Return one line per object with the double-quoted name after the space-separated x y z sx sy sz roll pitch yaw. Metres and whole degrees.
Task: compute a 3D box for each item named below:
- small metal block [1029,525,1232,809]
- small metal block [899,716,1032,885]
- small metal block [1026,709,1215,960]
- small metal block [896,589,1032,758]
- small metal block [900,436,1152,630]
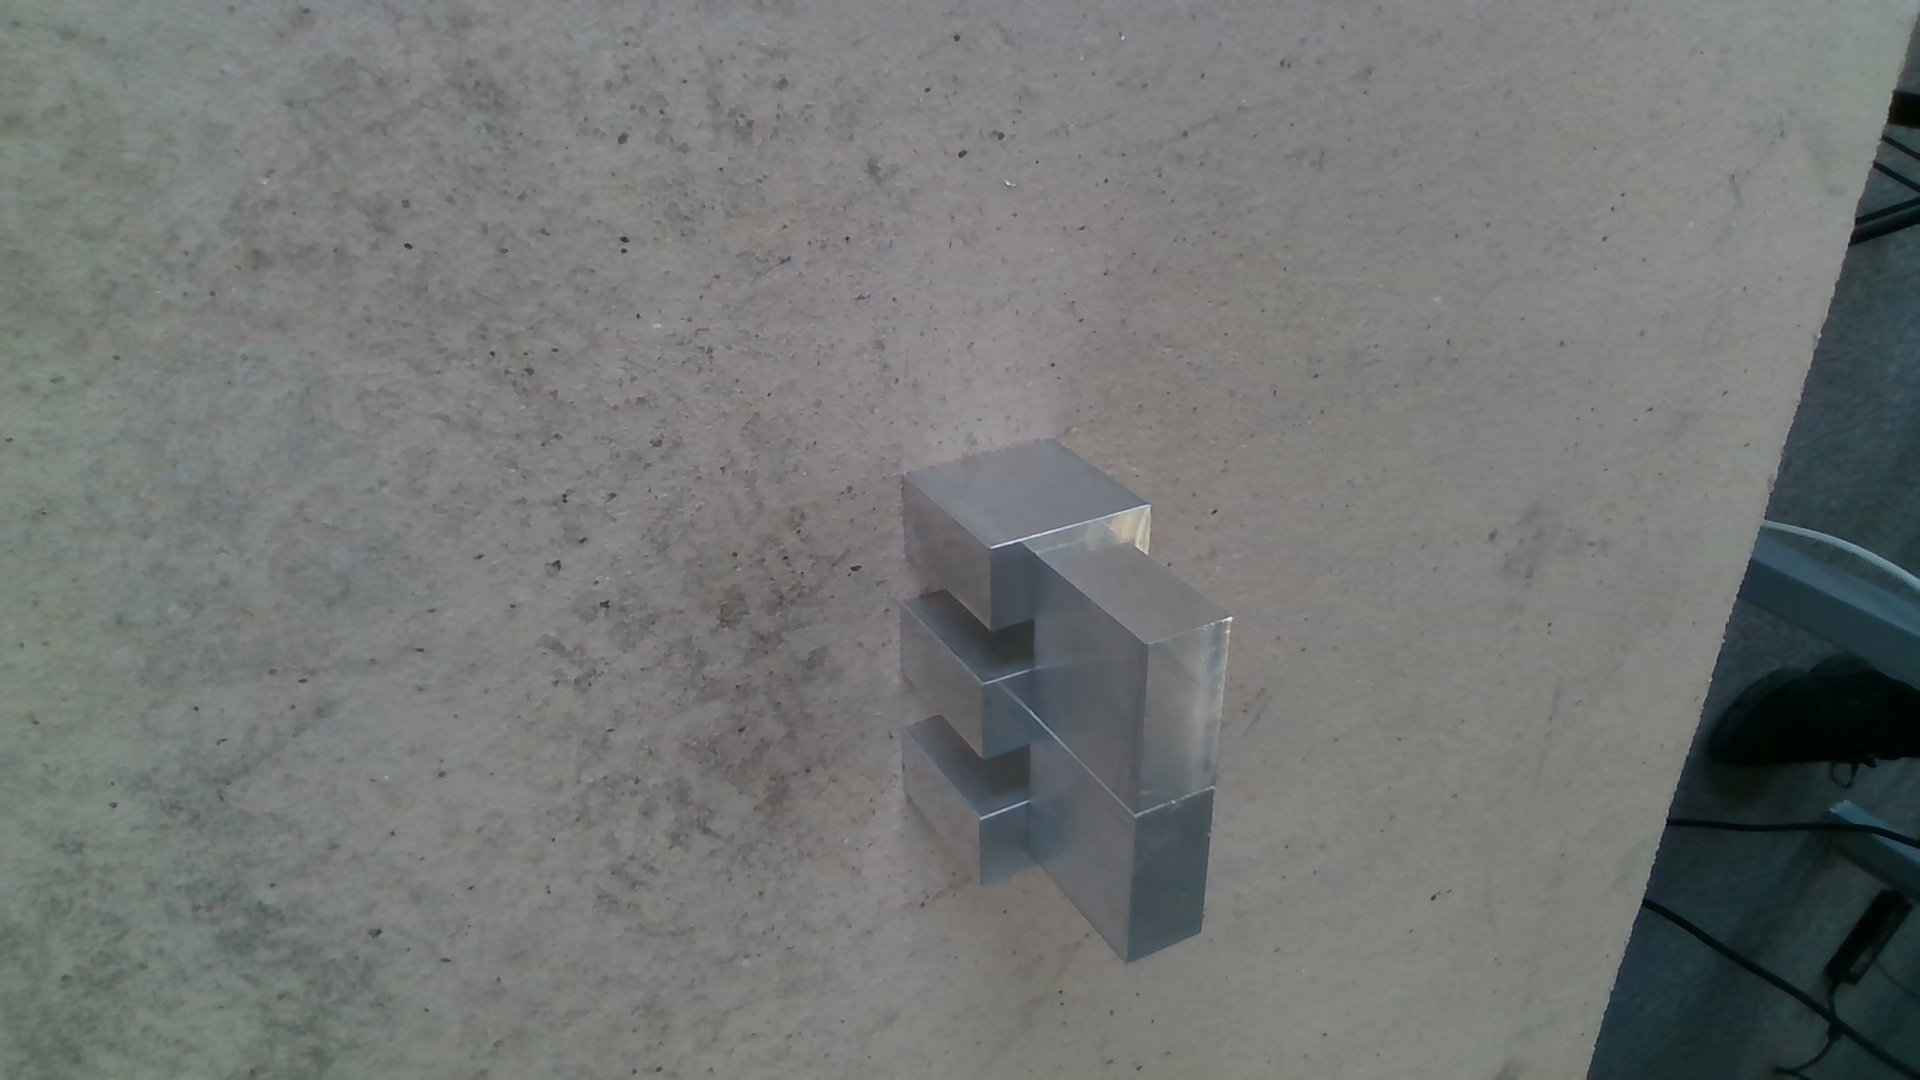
0.042 0.031 0.353 0.025 0.050 0.050 -15 122 -25 "small metal block"
0.015 0.073 0.423 0.050 0.050 0.025 -16 121 -24 "small metal block"
0.042 0.076 0.376 0.025 0.050 0.050 -15 122 -25 "small metal block"
0.015 0.033 0.402 0.050 0.050 0.025 -16 121 -24 "small metal block"
0.017 -0.004 0.382 0.050 0.050 0.025 -15 121 -25 "small metal block"
